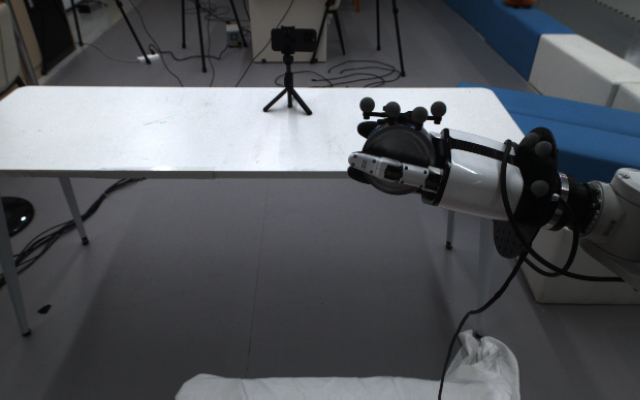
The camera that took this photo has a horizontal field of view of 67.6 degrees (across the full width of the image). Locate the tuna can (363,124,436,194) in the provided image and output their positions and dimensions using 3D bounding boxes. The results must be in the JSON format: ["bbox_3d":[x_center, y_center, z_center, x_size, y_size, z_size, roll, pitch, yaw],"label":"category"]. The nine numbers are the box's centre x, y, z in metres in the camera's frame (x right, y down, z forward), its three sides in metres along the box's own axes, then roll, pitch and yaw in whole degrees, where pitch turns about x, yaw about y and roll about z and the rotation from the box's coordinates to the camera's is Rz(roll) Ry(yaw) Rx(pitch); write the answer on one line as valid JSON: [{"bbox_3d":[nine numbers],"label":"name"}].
[{"bbox_3d":[0.094,-0.053,0.573,0.085,0.085,0.034,9,24,10],"label":"tuna can"}]
